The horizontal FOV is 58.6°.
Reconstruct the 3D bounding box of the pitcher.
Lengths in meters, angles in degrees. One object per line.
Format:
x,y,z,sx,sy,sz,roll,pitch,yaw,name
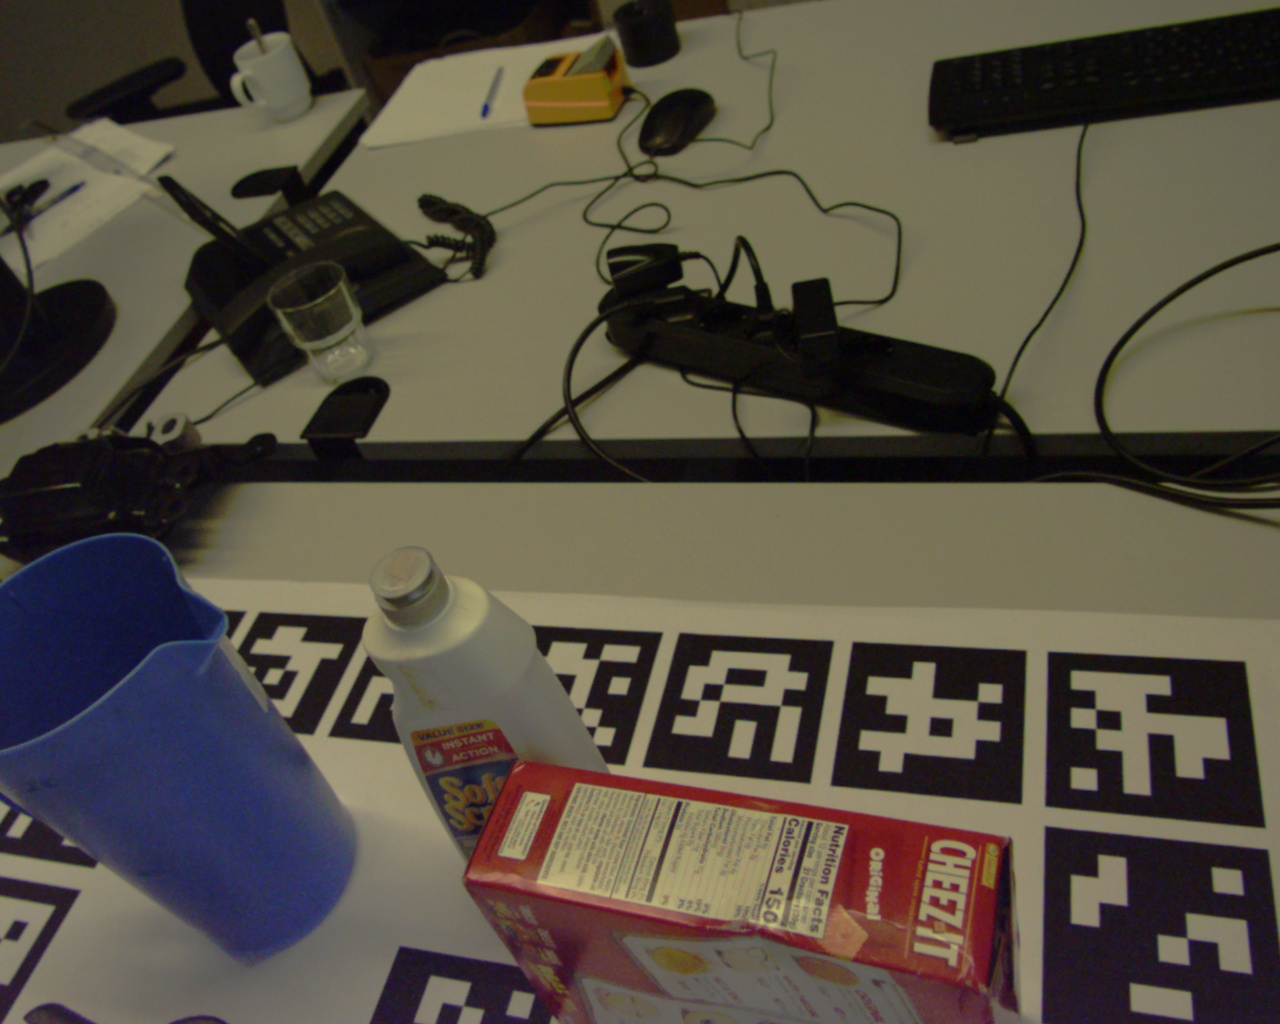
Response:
-0.270,0.134,0.648,0.189,0.241,0.134,-11,41,5,pitcher

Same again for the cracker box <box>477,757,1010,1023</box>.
0.054,0.195,0.528,0.216,0.163,0.072,1,42,24,cracker box

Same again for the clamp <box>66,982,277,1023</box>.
-0.263,0.316,0.638,0.166,0.036,0.122,-10,41,8,clamp

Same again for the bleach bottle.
-0.079,0.121,0.617,0.103,0.249,0.068,0,44,21,bleach bottle
